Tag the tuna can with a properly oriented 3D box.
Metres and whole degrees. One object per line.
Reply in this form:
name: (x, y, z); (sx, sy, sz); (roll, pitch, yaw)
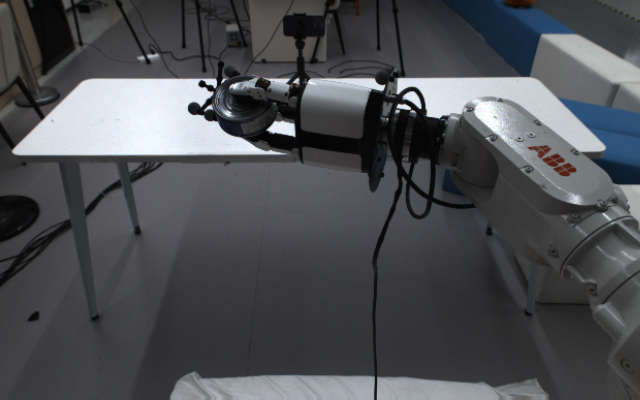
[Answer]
tuna can: (-0.100, -0.125, 0.661); (0.085, 0.034, 0.085); (-1, 62, 2)
